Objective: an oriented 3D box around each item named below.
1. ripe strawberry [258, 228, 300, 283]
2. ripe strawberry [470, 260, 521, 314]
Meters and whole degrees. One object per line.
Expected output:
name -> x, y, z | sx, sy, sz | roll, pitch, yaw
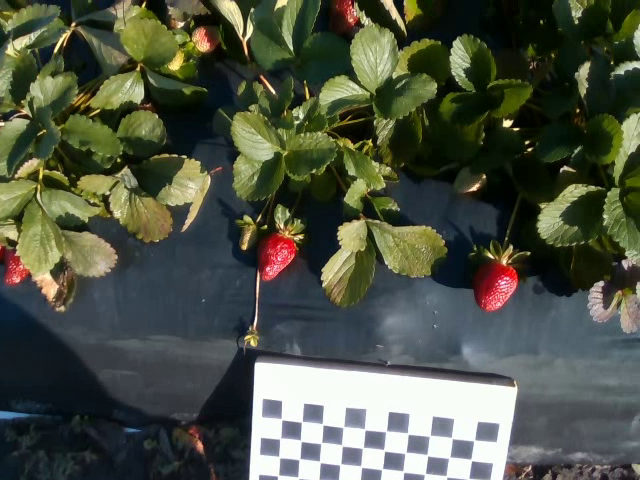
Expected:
ripe strawberry -> -0.044, 0.017, 0.560 | 0.041, 0.053, 0.043 | 14, -28, -1
ripe strawberry -> 0.159, 0.046, 0.534 | 0.042, 0.050, 0.043 | 37, -32, -7
